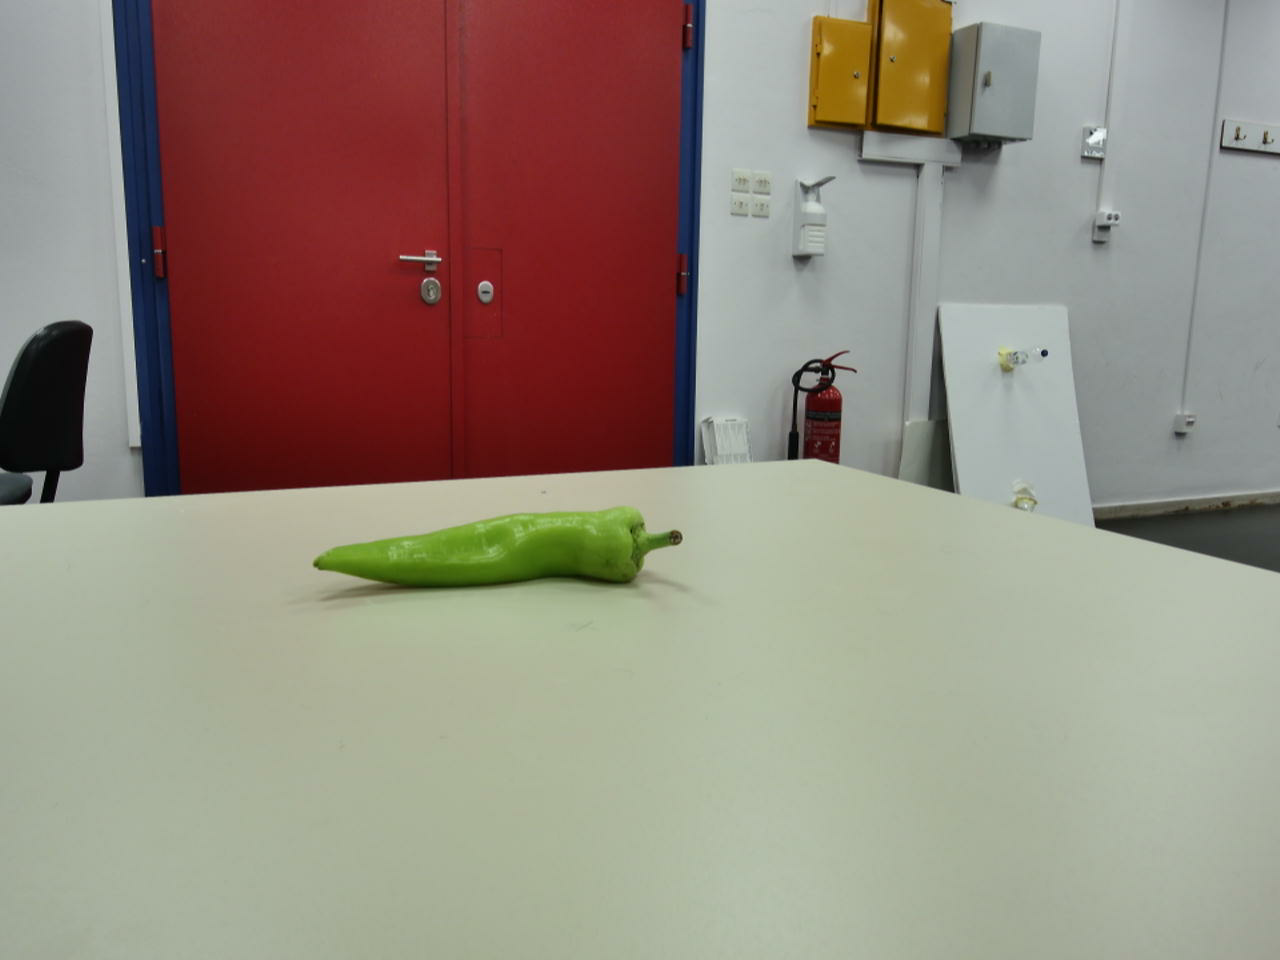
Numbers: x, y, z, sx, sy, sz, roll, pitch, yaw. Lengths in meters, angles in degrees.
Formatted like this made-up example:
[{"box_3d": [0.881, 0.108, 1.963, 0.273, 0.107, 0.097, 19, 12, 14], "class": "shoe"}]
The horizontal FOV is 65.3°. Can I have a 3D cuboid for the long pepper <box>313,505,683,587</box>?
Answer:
[{"box_3d": [-0.081, 0.040, 0.589, 0.204, 0.045, 0.065, -1, 8, -8], "class": "long pepper"}]
